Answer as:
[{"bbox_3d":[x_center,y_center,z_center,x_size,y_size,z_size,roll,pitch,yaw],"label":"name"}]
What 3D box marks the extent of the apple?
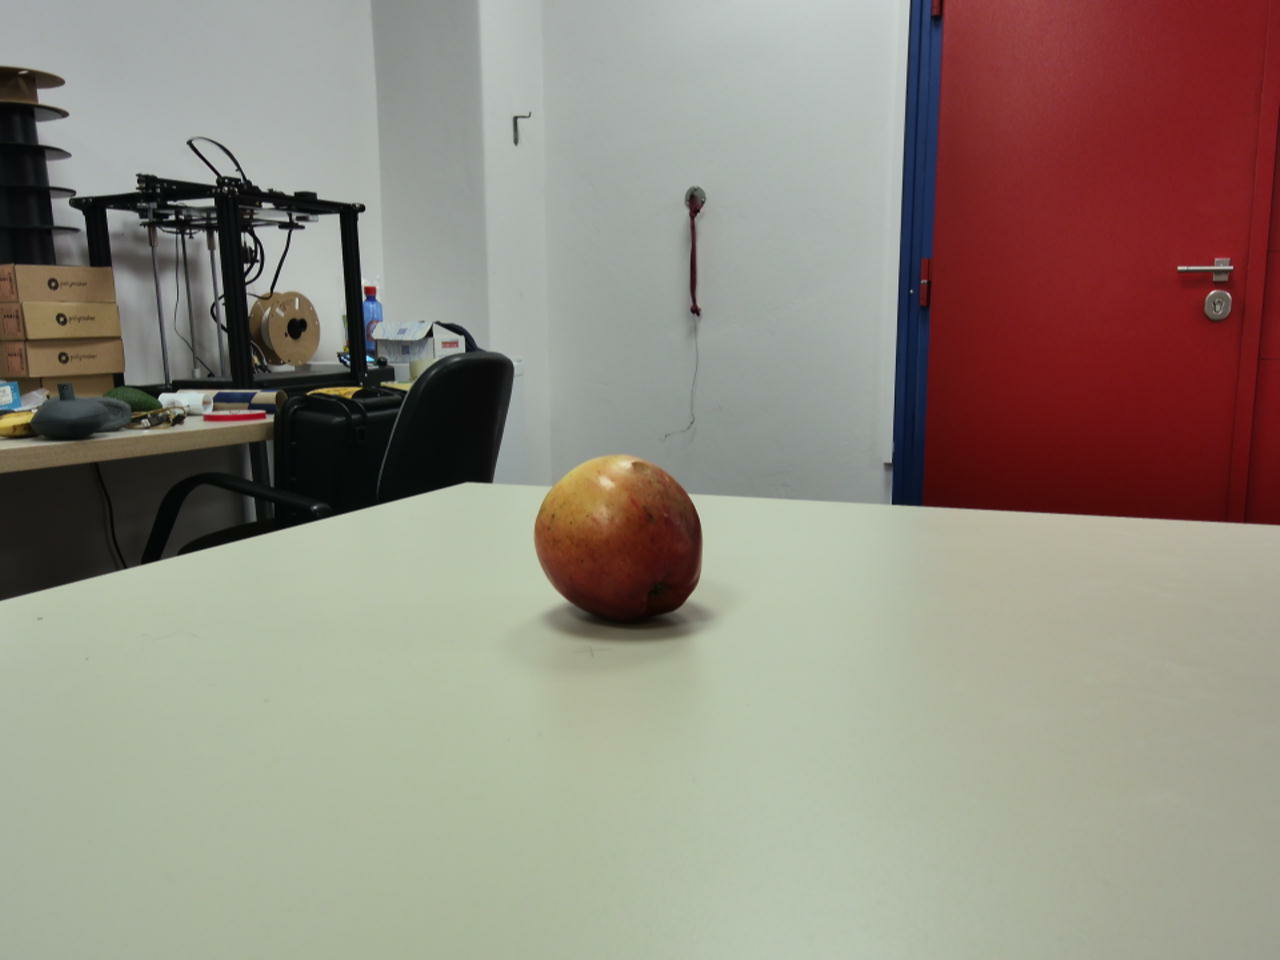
[{"bbox_3d":[-0.012,0.030,0.528,0.086,0.084,0.093,-1,6,-12],"label":"apple"}]
